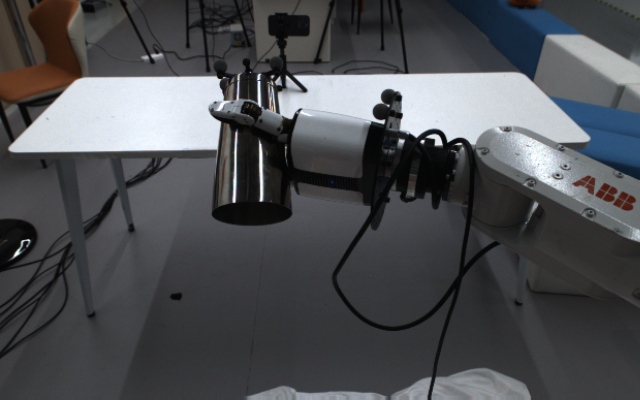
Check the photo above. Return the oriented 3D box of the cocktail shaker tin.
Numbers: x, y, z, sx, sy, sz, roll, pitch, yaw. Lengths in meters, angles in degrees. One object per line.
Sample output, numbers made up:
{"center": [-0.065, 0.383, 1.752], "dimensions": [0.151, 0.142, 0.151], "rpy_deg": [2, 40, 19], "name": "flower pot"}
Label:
{"center": [-0.083, -0.063, 0.580], "dimensions": [0.093, 0.093, 0.170], "rpy_deg": [-2, 70, -5], "name": "cocktail shaker tin"}
